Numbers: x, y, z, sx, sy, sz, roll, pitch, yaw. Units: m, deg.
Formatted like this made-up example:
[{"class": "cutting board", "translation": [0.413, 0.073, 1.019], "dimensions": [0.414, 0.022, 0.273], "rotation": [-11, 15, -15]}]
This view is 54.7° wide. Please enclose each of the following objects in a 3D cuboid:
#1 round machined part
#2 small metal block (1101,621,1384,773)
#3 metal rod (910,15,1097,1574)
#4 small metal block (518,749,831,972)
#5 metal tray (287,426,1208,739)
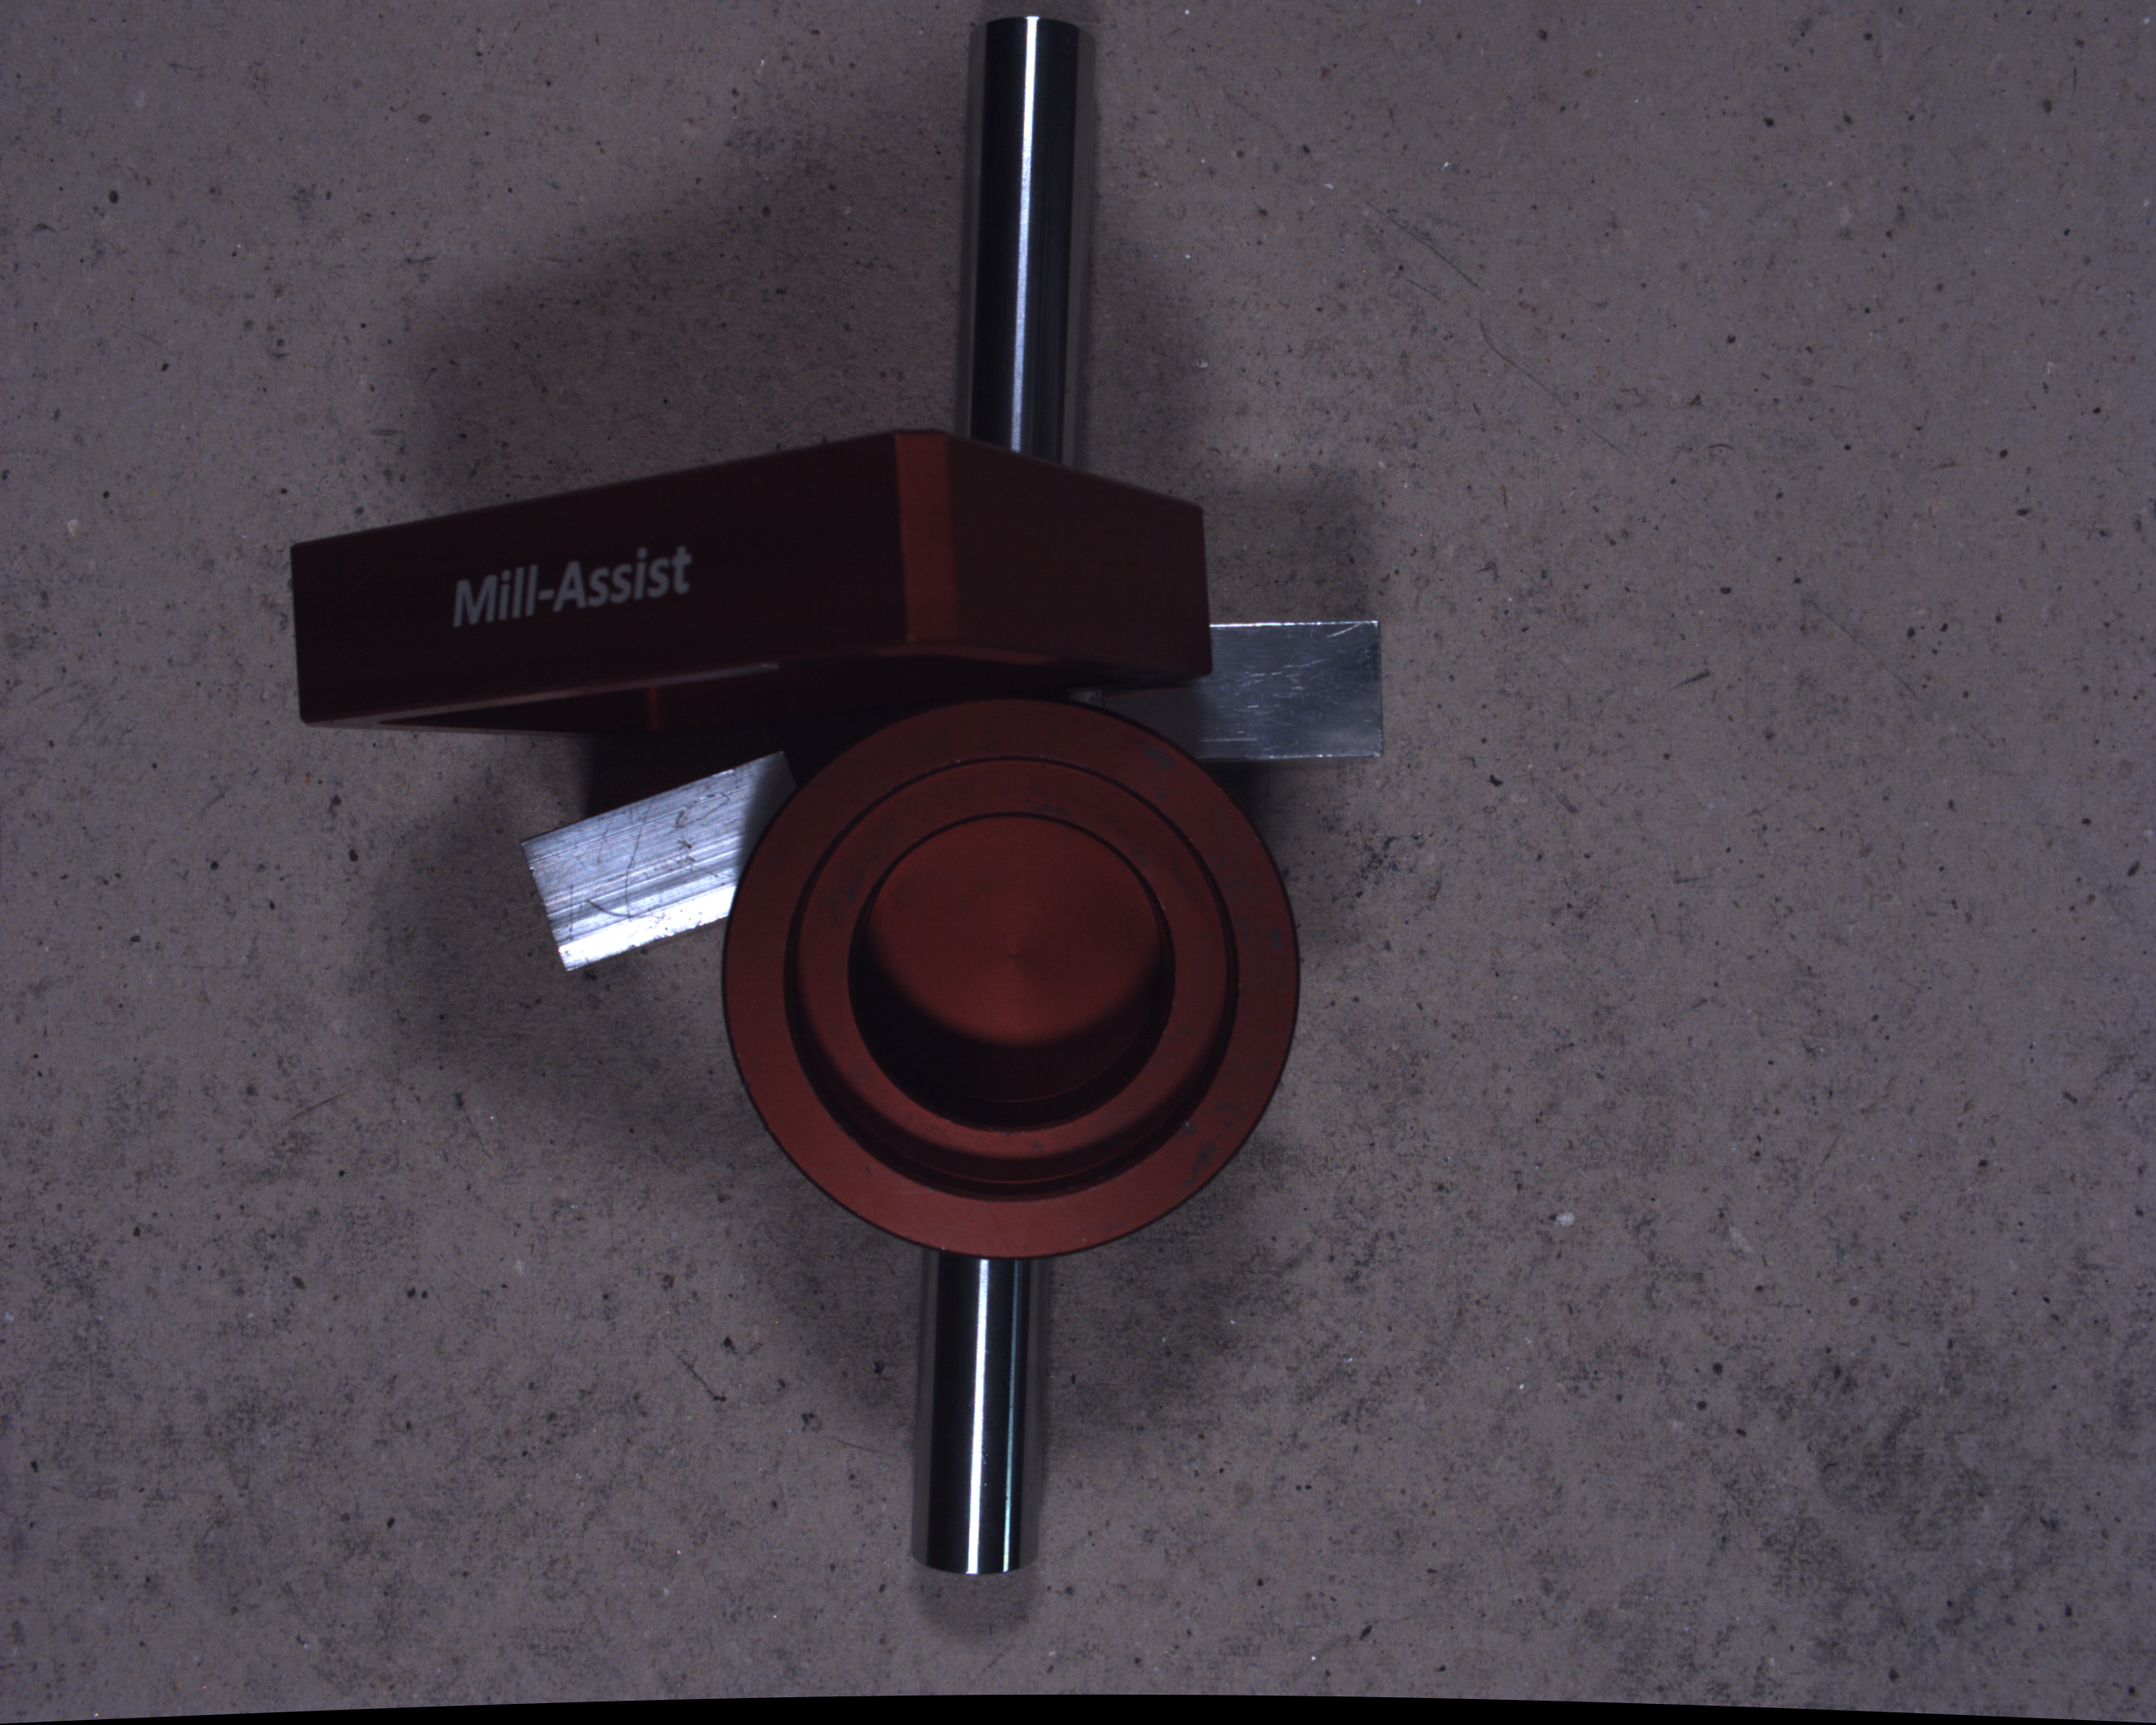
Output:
[{"class": "round machined part", "translation": [-0.012, 0.018, 0.375], "dimensions": [0.099, 0.042, 0.097], "rotation": [0, 93, -3]}, {"class": "small metal block", "translation": [0.029, -0.030, 0.399], "dimensions": [0.050, 0.050, 0.025], "rotation": [-2, 90, -1]}, {"class": "metal rod", "translation": [-0.015, -0.013, 0.411], "dimensions": [0.025, 0.025, 0.298], "rotation": [2, 90, -1]}, {"class": "small metal block", "translation": [-0.072, -0.001, 0.398], "dimensions": [0.050, 0.050, 0.025], "rotation": [-19, 90, 0]}, {"class": "metal tray", "translation": [-0.055, -0.042, 0.355], "dimensions": [0.130, 0.090, 0.030], "rotation": [-4, 89, 29]}]
